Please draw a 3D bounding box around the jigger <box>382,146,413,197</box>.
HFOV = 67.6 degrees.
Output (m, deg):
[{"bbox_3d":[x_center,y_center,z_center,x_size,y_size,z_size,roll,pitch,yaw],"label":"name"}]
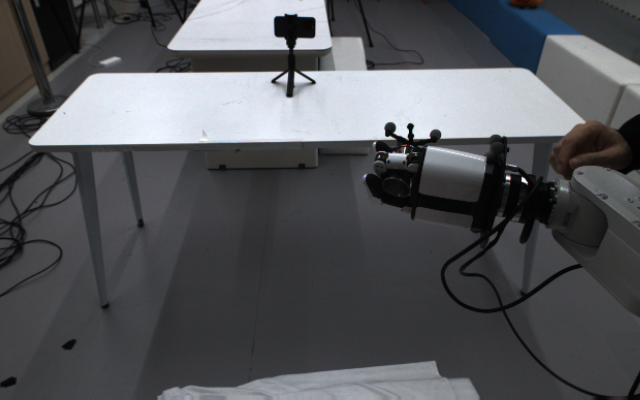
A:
[{"bbox_3d":[0.124,-0.045,0.714,0.043,0.043,0.071,13,57,15],"label":"jigger"}]
